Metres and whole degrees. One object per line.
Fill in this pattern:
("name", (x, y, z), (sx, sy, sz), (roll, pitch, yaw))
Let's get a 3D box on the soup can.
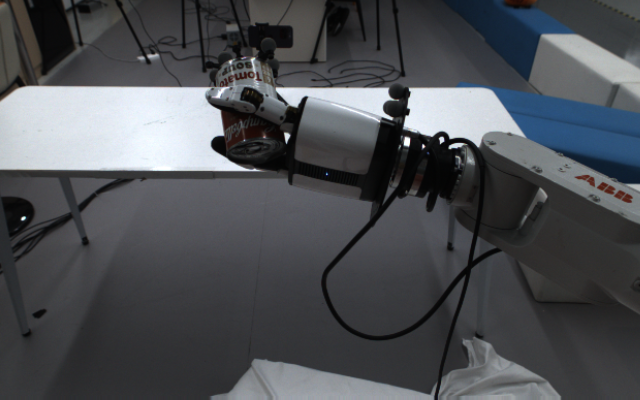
("soup can", (-0.078, -0.100, 0.549), (0.067, 0.067, 0.101), (-8, 74, -14))
